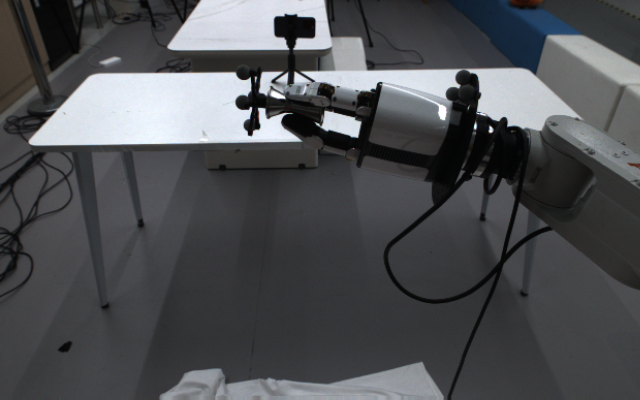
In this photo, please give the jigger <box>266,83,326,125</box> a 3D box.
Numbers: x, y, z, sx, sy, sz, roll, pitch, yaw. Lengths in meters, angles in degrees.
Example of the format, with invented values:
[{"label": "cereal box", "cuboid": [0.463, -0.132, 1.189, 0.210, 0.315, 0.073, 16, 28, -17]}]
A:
[{"label": "jigger", "cuboid": [-0.026, -0.121, 0.597, 0.071, 0.043, 0.043, 5, 35, 2]}]
